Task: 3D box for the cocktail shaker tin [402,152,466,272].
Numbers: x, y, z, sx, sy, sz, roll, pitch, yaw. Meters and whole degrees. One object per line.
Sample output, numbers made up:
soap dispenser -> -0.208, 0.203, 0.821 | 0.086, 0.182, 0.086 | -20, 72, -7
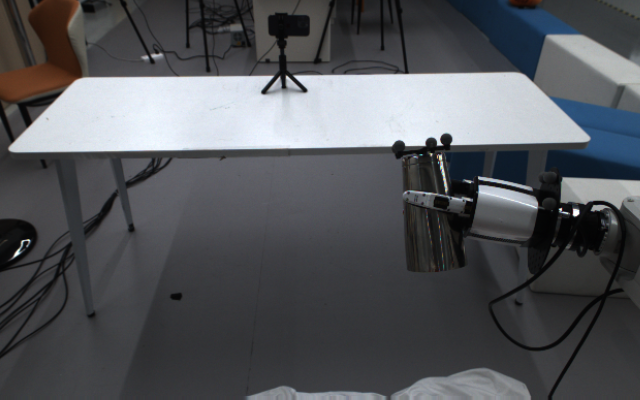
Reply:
cocktail shaker tin -> 0.168, 0.016, 0.738 | 0.093, 0.170, 0.093 | -8, 1, 0
